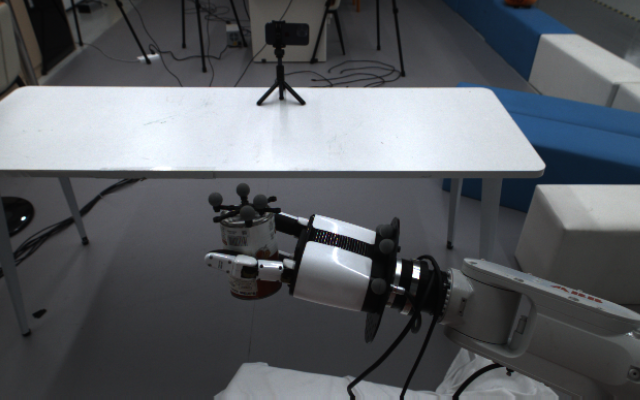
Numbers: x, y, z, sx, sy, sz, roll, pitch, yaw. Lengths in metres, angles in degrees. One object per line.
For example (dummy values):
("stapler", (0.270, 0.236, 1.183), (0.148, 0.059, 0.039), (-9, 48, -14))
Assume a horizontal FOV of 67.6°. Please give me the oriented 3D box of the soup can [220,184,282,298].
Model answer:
("soup can", (-0.083, 0.064, 0.599), (0.067, 0.101, 0.067), (-4, 21, 2))
